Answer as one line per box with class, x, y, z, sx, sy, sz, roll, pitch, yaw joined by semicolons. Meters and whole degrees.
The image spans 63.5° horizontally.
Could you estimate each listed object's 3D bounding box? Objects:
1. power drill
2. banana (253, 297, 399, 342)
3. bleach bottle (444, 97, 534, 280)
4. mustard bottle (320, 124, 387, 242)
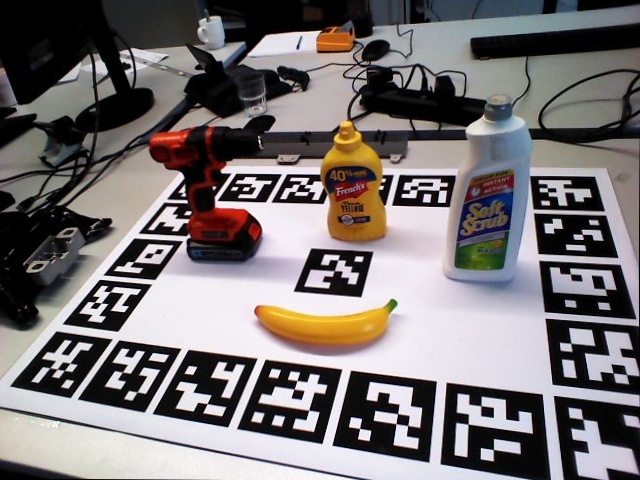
power drill;-0.148;-0.089;0.789;0.185;0.187;0.057;-4;38;15
banana;0.002;0.098;0.670;0.198;0.039;0.074;-3;40;15
bleach bottle;0.212;-0.062;0.662;0.103;0.251;0.067;9;42;23
mustard bottle;0.050;-0.086;0.785;0.096;0.192;0.058;-1;39;10
